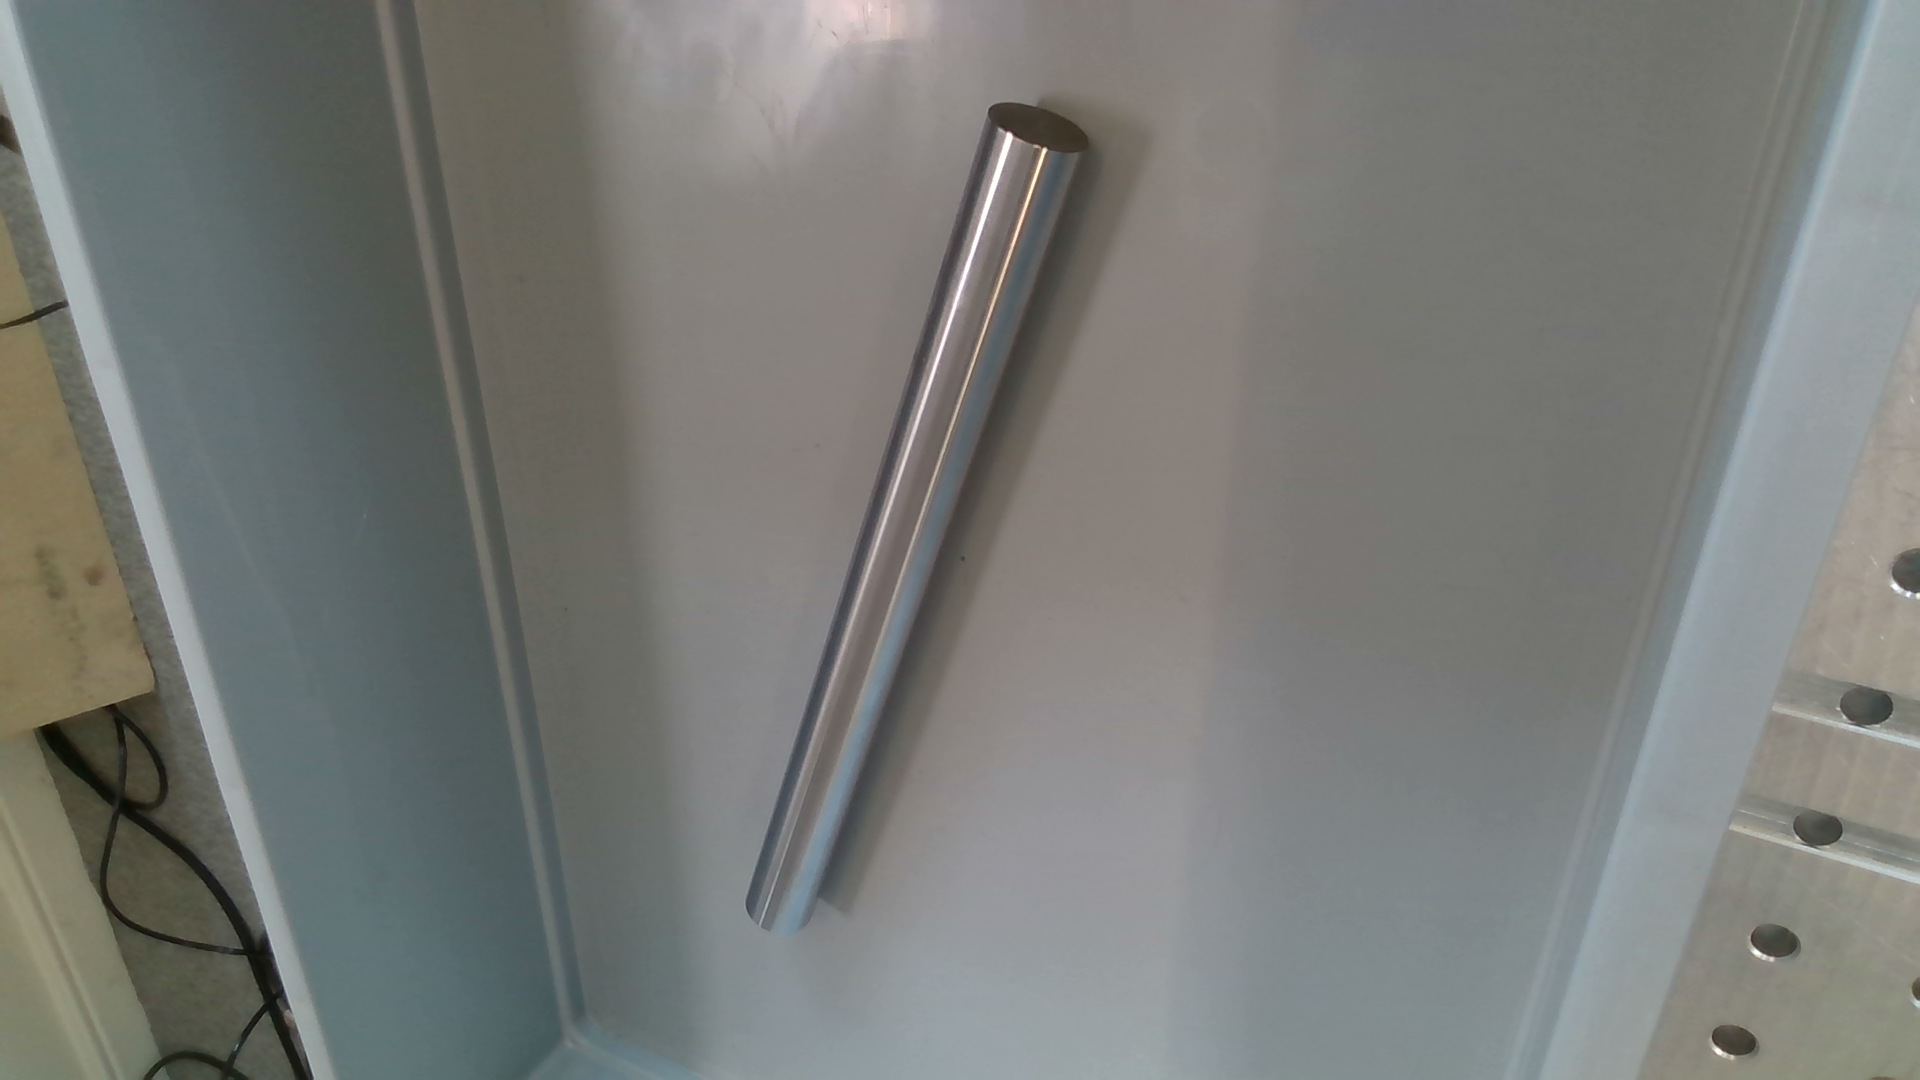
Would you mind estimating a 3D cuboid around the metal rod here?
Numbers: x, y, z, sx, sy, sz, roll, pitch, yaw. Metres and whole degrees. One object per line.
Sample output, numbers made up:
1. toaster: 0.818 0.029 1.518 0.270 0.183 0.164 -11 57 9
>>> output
1. metal rod: -0.024 0.016 0.410 0.025 0.025 0.301 31 127 14
